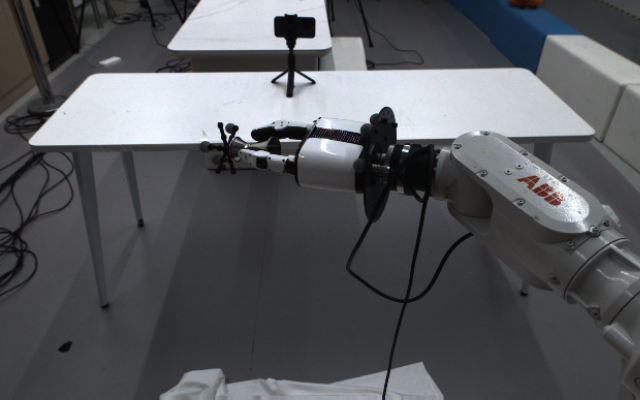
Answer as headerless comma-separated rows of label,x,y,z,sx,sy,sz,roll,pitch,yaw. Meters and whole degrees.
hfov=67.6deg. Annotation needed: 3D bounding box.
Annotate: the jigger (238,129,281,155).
jigger,-0.092,-0.081,0.736,0.071,0.043,0.043,4,33,24
